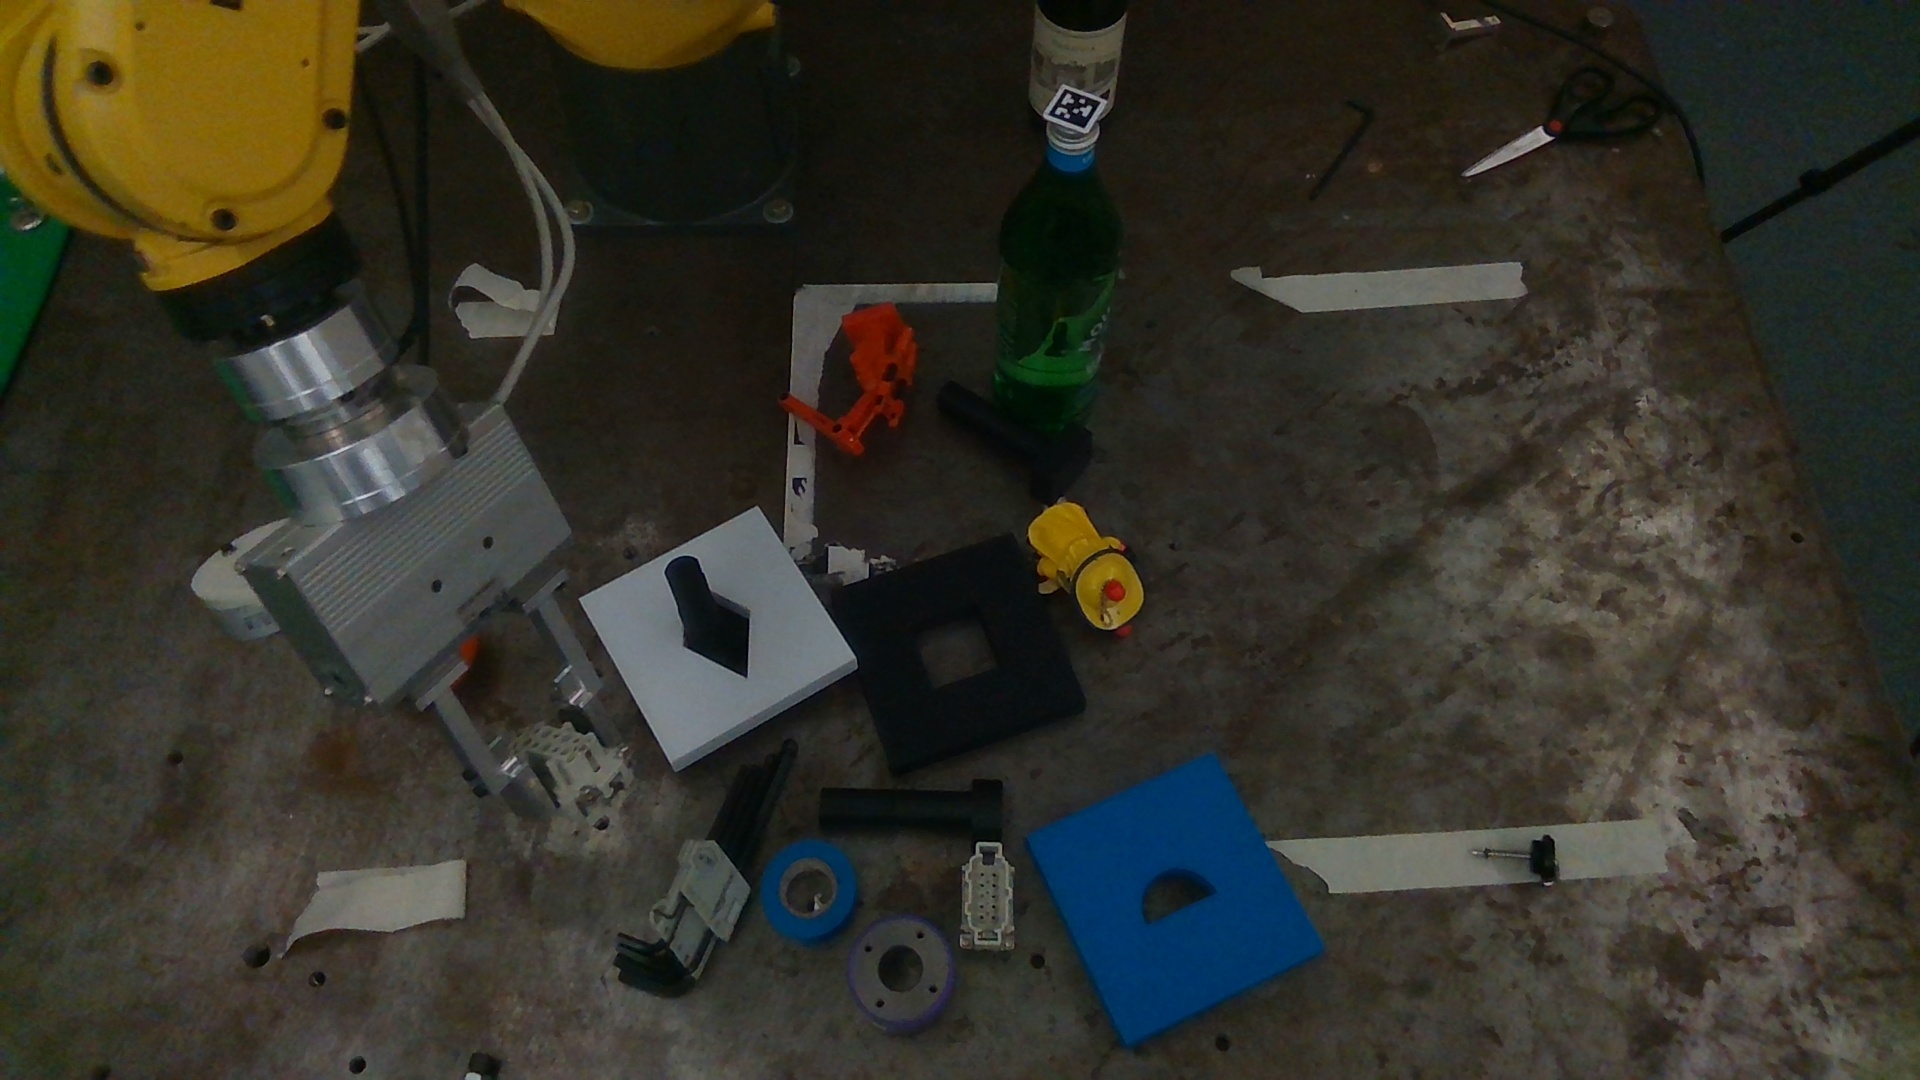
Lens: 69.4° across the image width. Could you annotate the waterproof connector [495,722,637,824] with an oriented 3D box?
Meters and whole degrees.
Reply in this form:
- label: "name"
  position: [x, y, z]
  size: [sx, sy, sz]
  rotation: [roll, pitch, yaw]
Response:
- label: "waterproof connector"
  position: [-0.191, 0.110, 0.675]
  size: [0.069, 0.038, 0.036]
  rotation: [4, 45, 33]
